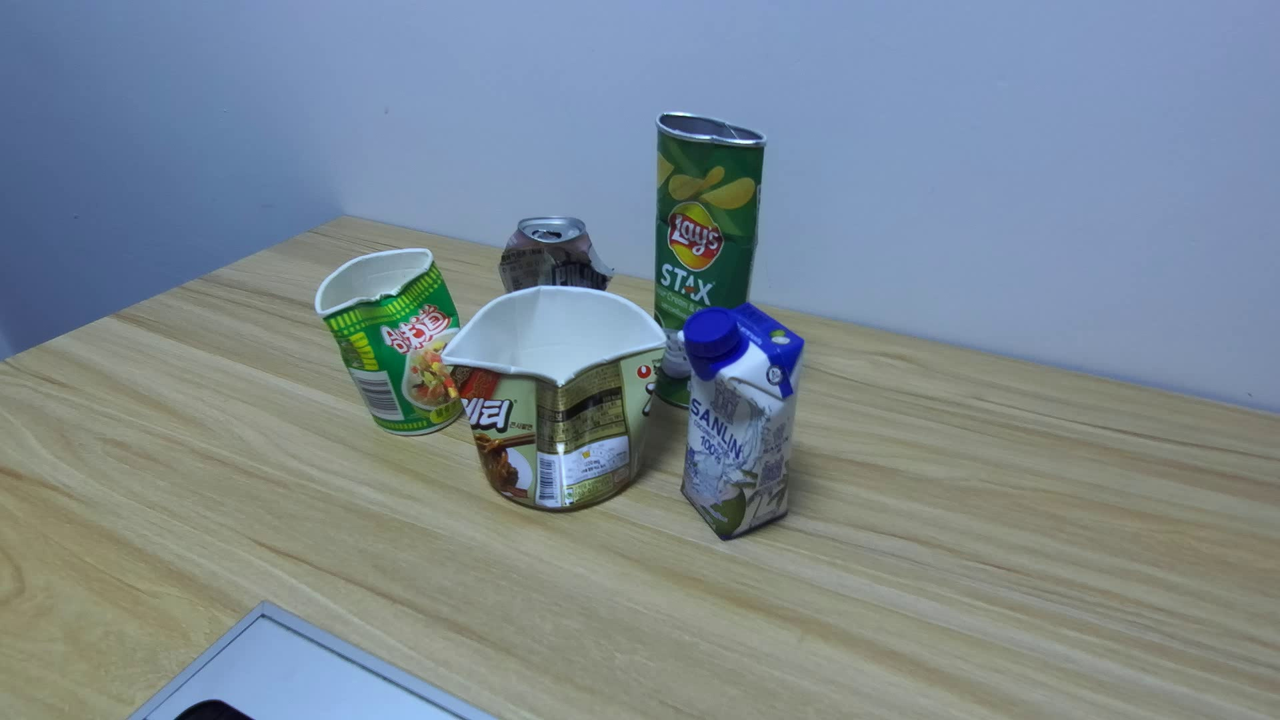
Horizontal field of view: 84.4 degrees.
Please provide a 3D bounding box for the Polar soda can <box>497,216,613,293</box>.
[{"bbox_3d":[-0.066,-0.059,0.574,0.070,0.114,0.074,28,44,32],"label":"Polar soda can"}]

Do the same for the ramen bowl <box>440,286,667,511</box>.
[{"bbox_3d":[-0.048,0.020,0.466,0.137,0.098,0.137,1,32,0],"label":"ramen bowl"}]

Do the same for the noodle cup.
[{"bbox_3d":[-0.167,-0.012,0.503,0.083,0.122,0.075,-24,31,-17],"label":"noodle cup"}]

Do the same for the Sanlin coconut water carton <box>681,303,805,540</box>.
[{"bbox_3d":[0.055,0.032,0.406,0.058,0.142,0.077,-21,37,-21],"label":"Sanlin coconut water carton"}]

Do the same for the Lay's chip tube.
[{"bbox_3d":[0.044,-0.062,0.495,0.075,0.199,0.069,5,31,8],"label":"Lay's chip tube"}]
